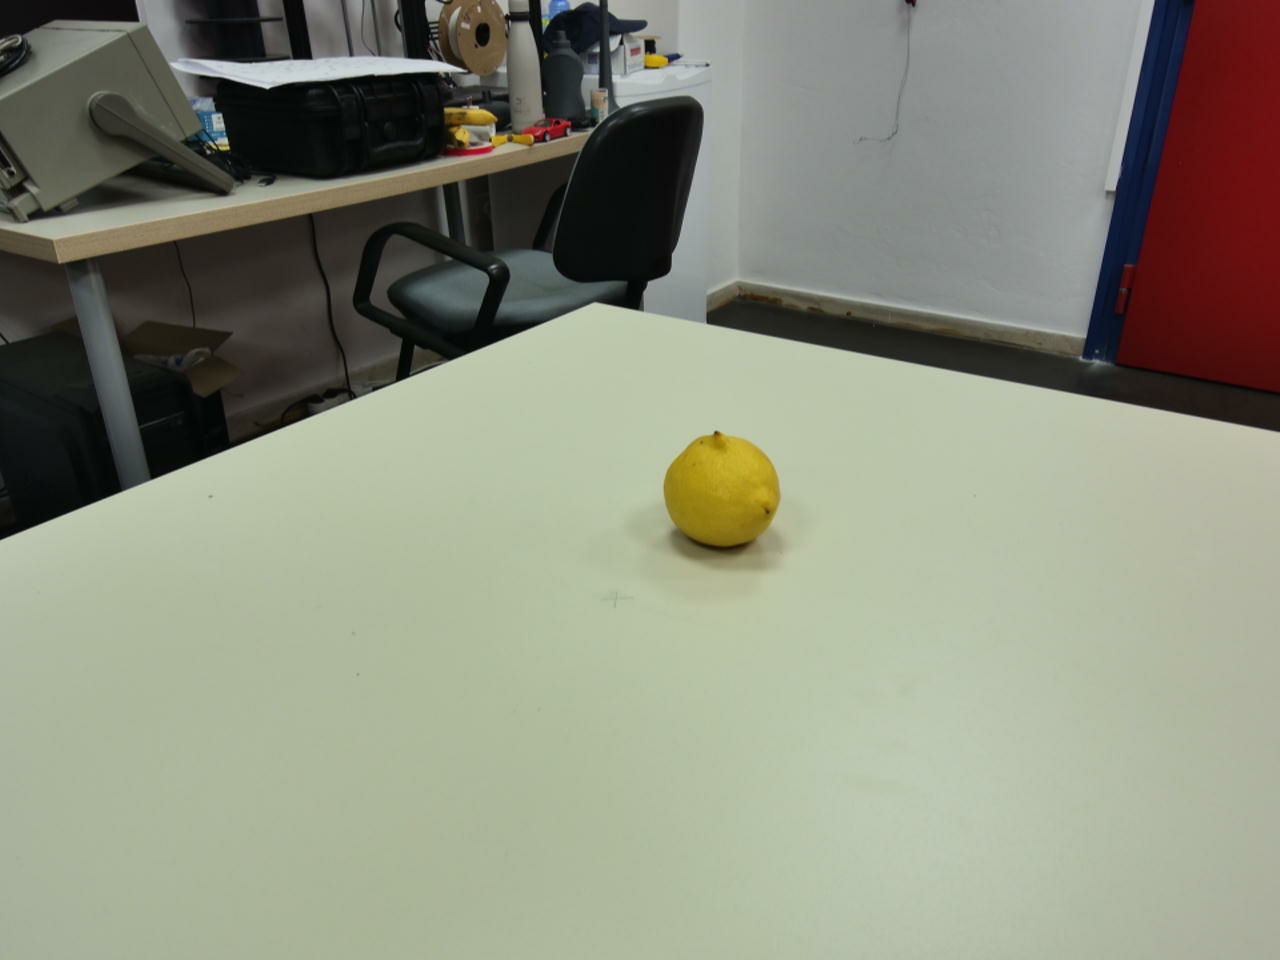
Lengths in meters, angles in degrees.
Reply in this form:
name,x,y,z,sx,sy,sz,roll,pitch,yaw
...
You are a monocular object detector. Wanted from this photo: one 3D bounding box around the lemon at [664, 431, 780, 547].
name,x,y,z,sx,sy,sz,roll,pitch,yaw
lemon,0.050,0.003,0.606,0.070,0.071,0.071,1,25,2
